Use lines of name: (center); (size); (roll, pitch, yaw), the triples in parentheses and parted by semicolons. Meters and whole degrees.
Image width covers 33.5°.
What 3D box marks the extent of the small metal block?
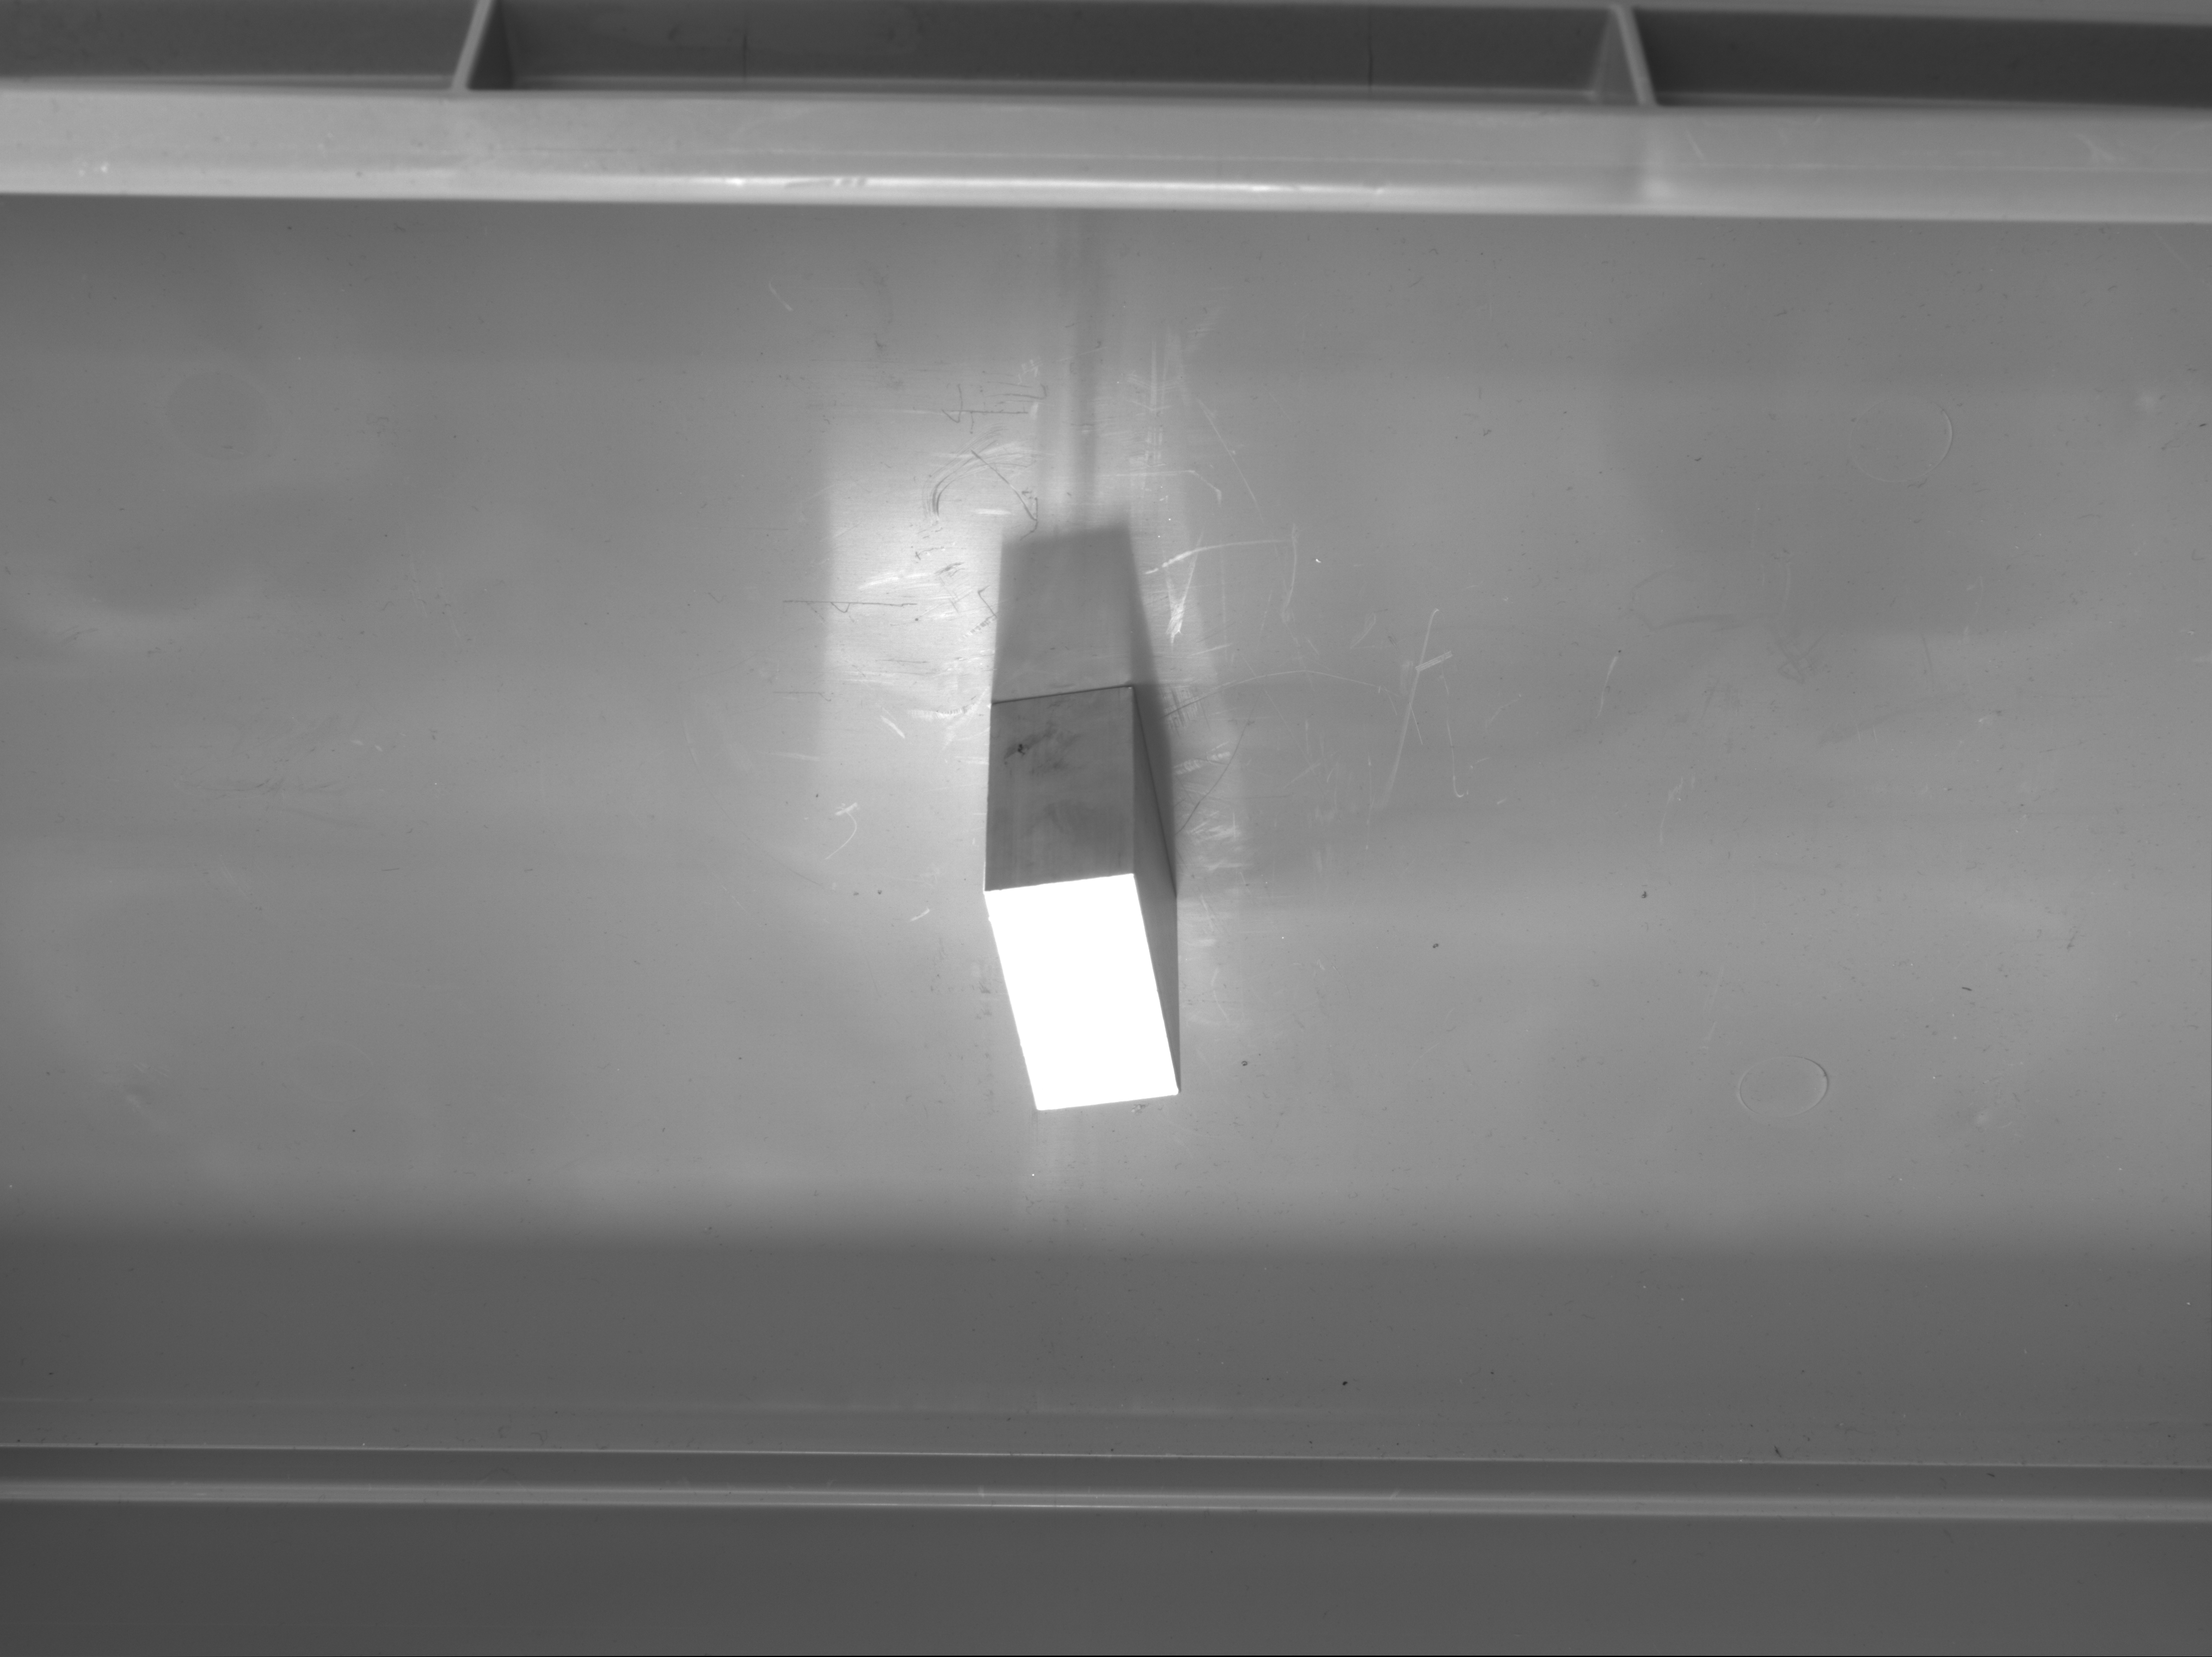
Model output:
small metal block: (-0.004, 0.012, 0.630); (0.025, 0.050, 0.050); (-7, 129, 6)
